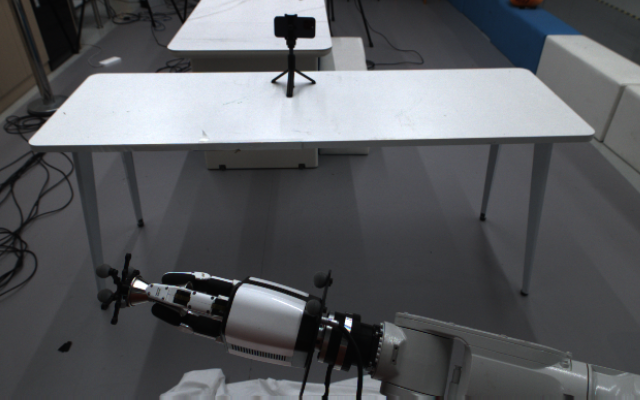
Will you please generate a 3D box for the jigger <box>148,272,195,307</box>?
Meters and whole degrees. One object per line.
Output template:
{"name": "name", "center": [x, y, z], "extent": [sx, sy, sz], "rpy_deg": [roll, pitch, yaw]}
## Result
{"name": "jigger", "center": [-0.192, 0.116, 0.611], "extent": [0.071, 0.043, 0.043], "rpy_deg": [8, 35, 2]}
